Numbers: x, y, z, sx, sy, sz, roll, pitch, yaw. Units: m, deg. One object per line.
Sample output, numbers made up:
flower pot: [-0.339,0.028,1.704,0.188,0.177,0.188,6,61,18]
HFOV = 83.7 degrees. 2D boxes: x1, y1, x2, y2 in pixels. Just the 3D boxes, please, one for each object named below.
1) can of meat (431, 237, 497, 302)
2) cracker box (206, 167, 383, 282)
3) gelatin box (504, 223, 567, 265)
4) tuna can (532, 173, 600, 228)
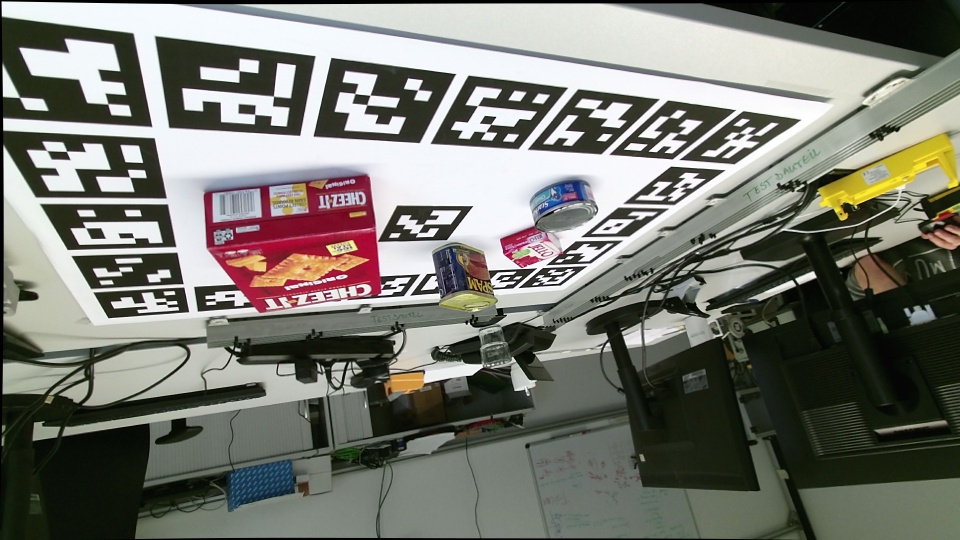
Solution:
can of meat: [-0.026,0.000,0.837,0.058,0.083,0.102,-25,158,30]
cracker box: [-0.206,-0.035,0.646,0.165,0.071,0.214,-8,161,-10]
gelatin box: [0.089,-0.041,0.854,0.073,0.030,0.089,-17,157,21]
tuna can: [0.115,-0.092,0.718,0.086,0.033,0.086,-13,158,-5]
